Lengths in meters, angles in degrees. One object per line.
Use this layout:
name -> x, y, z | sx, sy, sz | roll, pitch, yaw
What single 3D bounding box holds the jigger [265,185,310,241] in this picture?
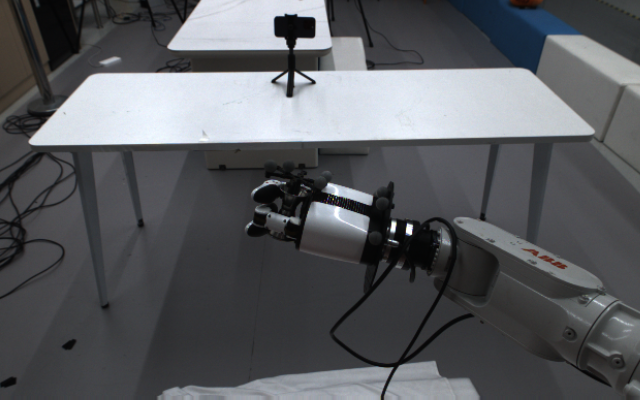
jigger -> -0.042, 0.017, 0.672 | 0.043, 0.071, 0.043 | 15, 17, -5
